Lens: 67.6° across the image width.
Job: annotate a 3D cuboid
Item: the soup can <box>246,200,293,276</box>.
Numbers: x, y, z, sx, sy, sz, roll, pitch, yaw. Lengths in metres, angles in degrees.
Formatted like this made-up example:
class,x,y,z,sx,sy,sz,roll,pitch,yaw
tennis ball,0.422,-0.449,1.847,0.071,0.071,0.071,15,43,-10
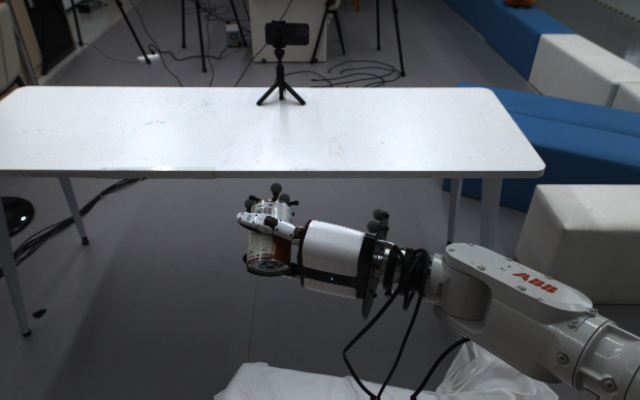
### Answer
class,x,y,z,sx,sy,sz,roll,pitch,yaw
soup can,-0.075,0.059,0.739,0.067,0.067,0.101,0,61,-3
